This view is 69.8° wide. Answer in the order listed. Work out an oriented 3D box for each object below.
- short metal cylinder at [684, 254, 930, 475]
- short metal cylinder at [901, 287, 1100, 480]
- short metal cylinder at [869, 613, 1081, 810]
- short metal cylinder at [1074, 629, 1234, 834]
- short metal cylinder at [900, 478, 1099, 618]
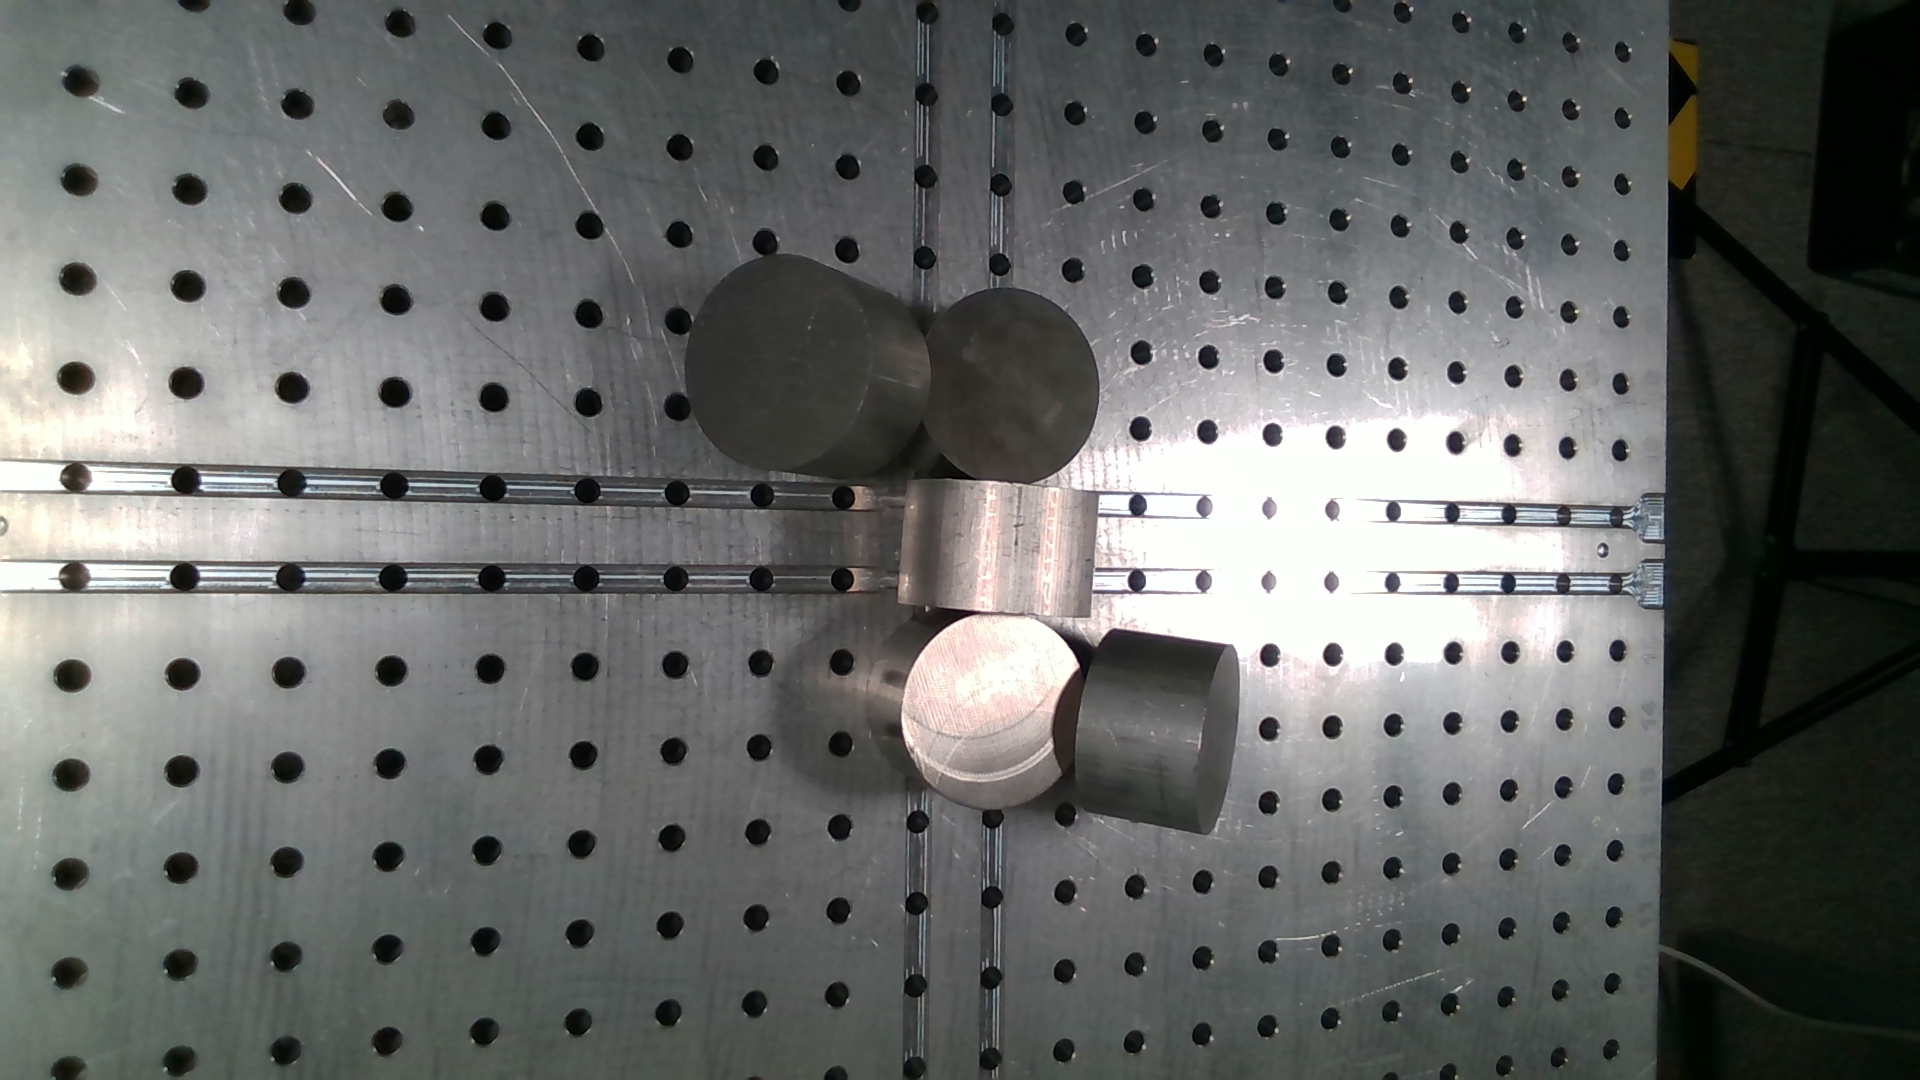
[{"bbox_3d":[-0.058,-0.065,0.531,0.080,0.050,0.080,-1,89,24],"label":"short metal cylinder"},{"bbox_3d":[0.012,-0.062,0.578,0.080,0.050,0.080,0,90,-20],"label":"short metal cylinder"},{"bbox_3d":[0.006,0.069,0.577,0.080,0.050,0.080,0,90,-20],"label":"short metal cylinder"},{"bbox_3d":[0.085,0.080,0.584,0.050,0.080,0.080,7,87,22],"label":"short metal cylinder"},{"bbox_3d":[0.016,0.004,0.565,0.080,0.080,0.050,5,88,-20],"label":"short metal cylinder"}]
